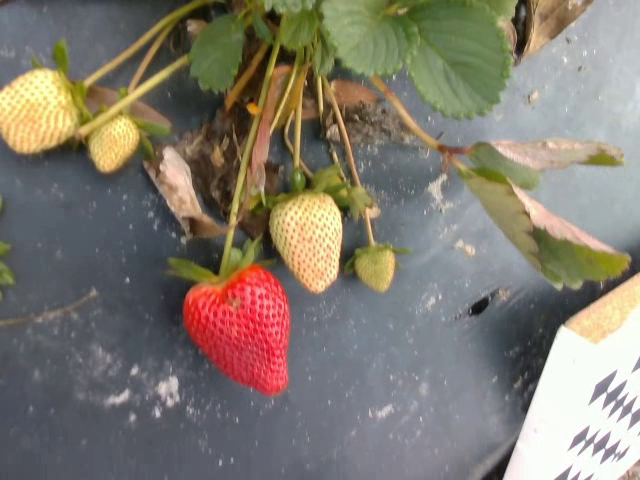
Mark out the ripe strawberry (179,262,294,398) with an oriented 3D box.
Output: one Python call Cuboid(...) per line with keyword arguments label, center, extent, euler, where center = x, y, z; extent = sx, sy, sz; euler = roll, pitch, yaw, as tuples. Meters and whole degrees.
Cuboid(label="ripe strawberry", center=(-0.029, 0.037, 0.226), extent=(0.050, 0.059, 0.033), euler=(-29, -5, -18))
